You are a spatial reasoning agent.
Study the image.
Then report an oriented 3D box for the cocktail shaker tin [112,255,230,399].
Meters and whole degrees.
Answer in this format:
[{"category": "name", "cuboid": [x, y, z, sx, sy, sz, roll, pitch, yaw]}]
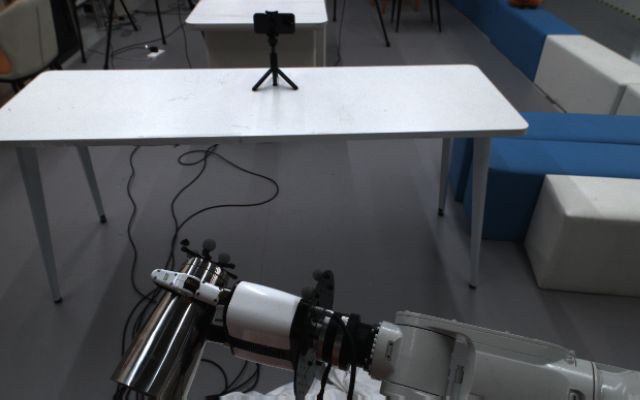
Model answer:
[{"category": "cocktail shaker tin", "cuboid": [-0.181, 0.161, 0.619, 0.093, 0.093, 0.170, 14, 60, 16]}]
